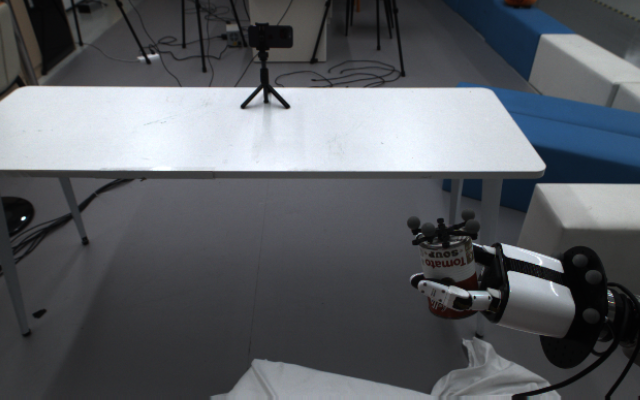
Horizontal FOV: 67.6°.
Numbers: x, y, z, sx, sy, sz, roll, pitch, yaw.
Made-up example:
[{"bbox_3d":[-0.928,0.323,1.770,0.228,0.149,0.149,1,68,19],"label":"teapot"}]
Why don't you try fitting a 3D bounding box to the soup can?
[{"bbox_3d":[0.169,0.091,0.625,0.067,0.101,0.067,-12,17,4],"label":"soup can"}]
